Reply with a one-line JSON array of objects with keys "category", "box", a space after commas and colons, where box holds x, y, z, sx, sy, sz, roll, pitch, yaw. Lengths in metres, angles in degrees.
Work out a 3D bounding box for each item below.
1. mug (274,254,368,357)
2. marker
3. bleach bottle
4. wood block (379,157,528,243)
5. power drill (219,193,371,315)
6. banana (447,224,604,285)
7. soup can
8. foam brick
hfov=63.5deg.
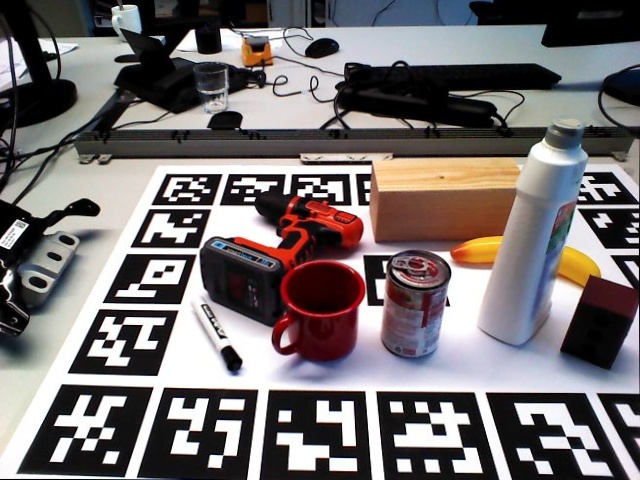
[{"category": "mug", "box": [-0.003, 0.080, 0.566, 0.093, 0.082, 0.116, 32, 51, 34]}, {"category": "marker", "box": [-0.118, 0.109, 0.589, 0.019, 0.020, 0.121, -21, 41, -20]}, {"category": "bleach bottle", "box": [0.229, -0.009, 0.535, 0.068, 0.251, 0.102, 18, 40, 26]}, {"category": "wood block", "box": [0.189, -0.058, 0.739, 0.207, 0.091, 0.089, -1, 38, 1]}, {"category": "power drill", "box": [-0.047, 0.008, 0.695, 0.185, 0.057, 0.185, 21, 41, 23]}, {"category": "banana", "box": [0.269, 0.012, 0.677, 0.198, 0.039, 0.074, 11, 52, 13]}, {"category": "soup can", "box": [0.105, 0.064, 0.556, 0.068, 0.102, 0.067, 0, 33, 0]}, {"category": "foam brick", "box": [0.309, 0.088, 0.547, 0.053, 0.078, 0.051, 21, 40, 30]}]
